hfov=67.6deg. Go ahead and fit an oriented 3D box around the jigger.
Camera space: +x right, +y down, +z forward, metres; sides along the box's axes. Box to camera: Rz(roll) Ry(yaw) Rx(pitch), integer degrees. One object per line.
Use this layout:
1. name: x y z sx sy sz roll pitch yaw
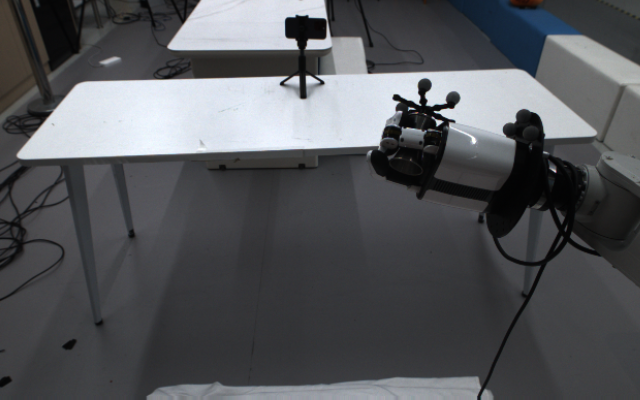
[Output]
1. jigger: 0.120 -0.073 0.610 0.043 0.043 0.071 14 70 17
